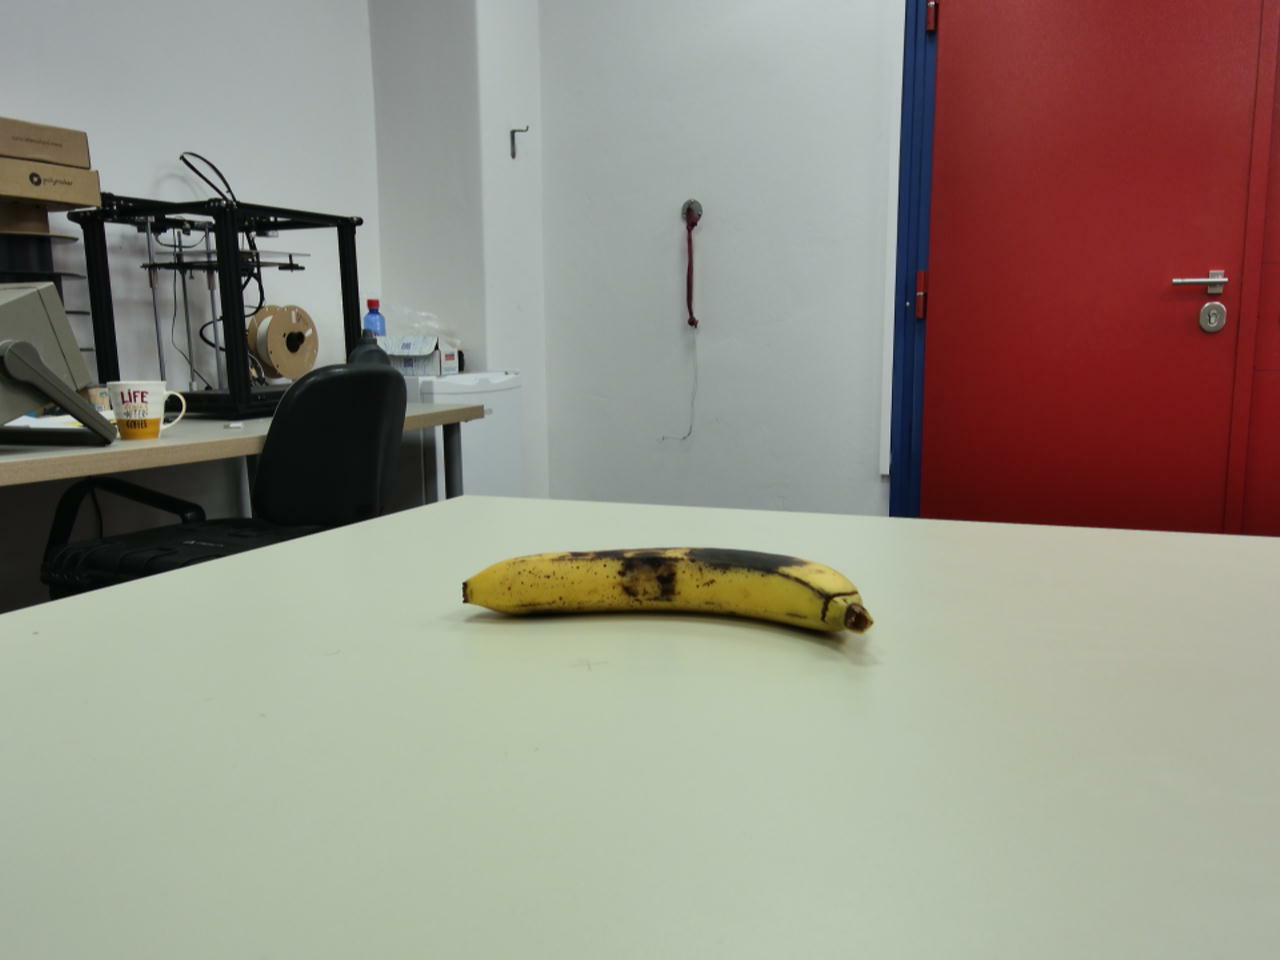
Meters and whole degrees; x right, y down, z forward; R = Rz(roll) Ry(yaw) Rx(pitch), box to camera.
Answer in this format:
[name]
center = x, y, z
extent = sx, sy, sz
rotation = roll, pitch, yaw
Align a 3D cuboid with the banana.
[banana]
center = 0.018, 0.058, 0.530
extent = 0.222, 0.037, 0.084
rotation = 3, 6, 24
